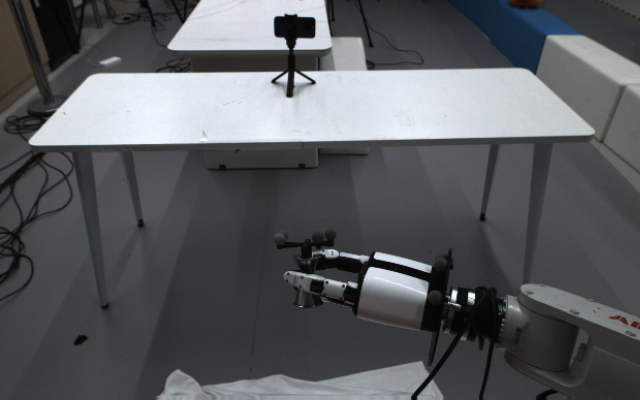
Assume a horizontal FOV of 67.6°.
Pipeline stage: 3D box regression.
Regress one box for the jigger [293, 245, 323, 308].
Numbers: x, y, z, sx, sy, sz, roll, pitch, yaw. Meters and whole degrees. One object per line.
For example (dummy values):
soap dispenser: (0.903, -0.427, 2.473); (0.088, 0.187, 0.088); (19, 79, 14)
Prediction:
jigger: (-0.018, 0.112, 0.681); (0.043, 0.071, 0.043); (-2, 3, 0)
